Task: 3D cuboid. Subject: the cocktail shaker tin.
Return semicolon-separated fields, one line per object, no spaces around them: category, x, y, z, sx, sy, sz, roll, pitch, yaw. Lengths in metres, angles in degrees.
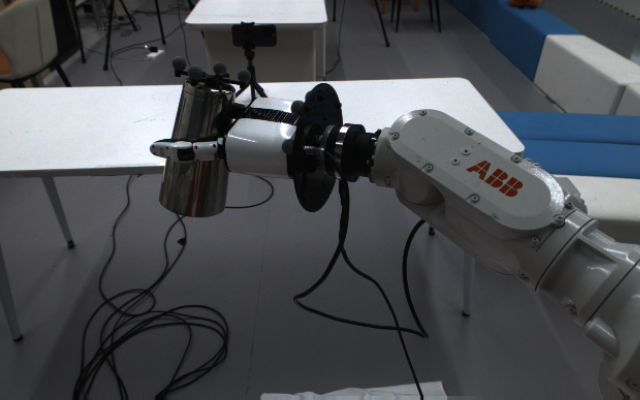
cocktail shaker tin;-0.159;-0.074;0.650;0.093;0.170;0.093;12;24;-5
